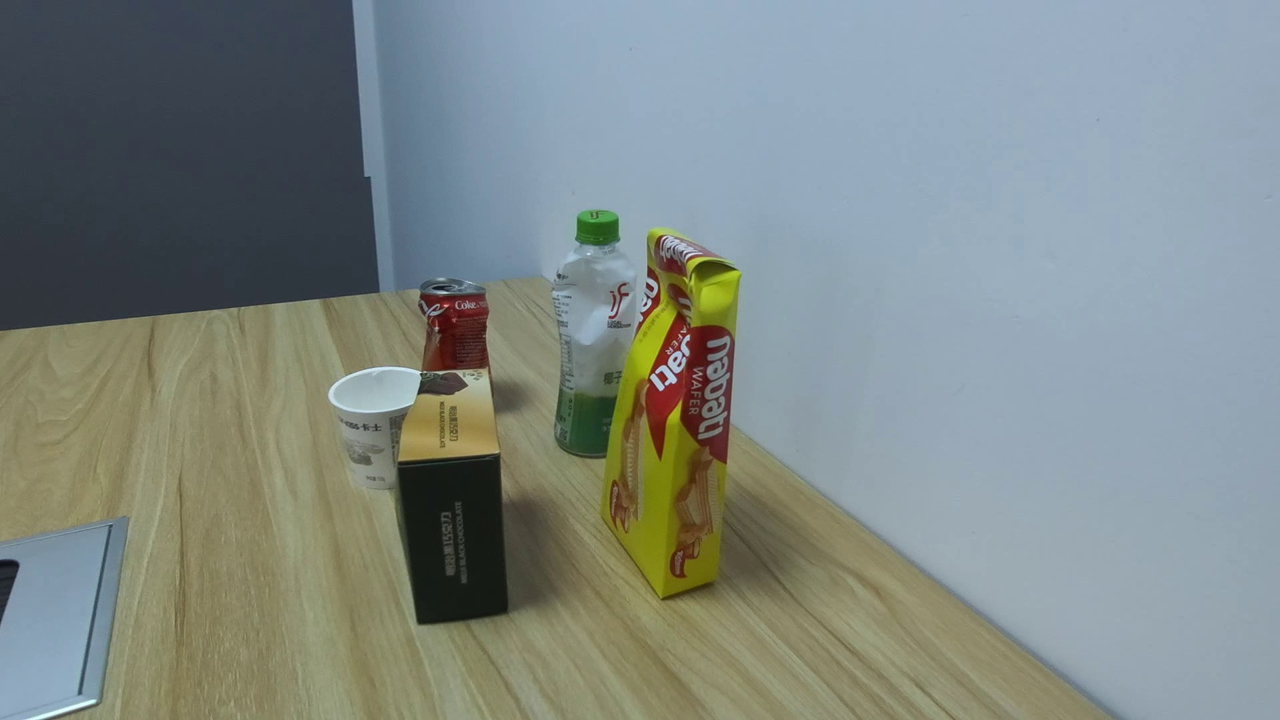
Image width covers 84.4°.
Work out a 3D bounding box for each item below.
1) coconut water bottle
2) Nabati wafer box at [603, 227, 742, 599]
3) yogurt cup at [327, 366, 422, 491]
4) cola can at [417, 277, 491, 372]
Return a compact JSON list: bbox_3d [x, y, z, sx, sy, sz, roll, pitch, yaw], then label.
[{"bbox_3d":[-0.032,-0.020,0.544,0.069,0.187,0.069,4,22,-1],"label":"coconut water bottle"},{"bbox_3d":[0.017,0.031,0.423,0.043,0.205,0.113,-7,26,-24],"label":"Nabati wafer box"},{"bbox_3d":[-0.196,0.051,0.543,0.072,0.068,0.072,4,30,-2],"label":"yogurt cup"},{"bbox_3d":[-0.159,-0.011,0.607,0.066,0.112,0.069,0,21,-9],"label":"cola can"}]
